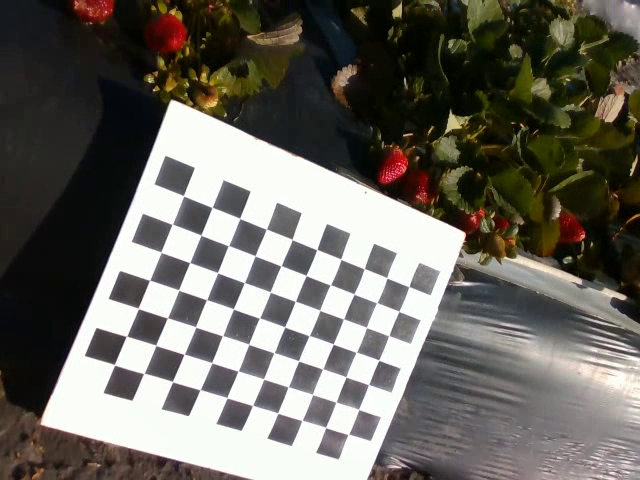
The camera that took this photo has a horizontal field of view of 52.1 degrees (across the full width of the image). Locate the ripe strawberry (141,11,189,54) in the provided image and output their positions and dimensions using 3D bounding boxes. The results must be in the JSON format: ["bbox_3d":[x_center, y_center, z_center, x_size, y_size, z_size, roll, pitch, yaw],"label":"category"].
[{"bbox_3d":[-0.134,-0.180,0.579,0.042,0.039,0.049,-23,40,-12],"label":"ripe strawberry"}]
